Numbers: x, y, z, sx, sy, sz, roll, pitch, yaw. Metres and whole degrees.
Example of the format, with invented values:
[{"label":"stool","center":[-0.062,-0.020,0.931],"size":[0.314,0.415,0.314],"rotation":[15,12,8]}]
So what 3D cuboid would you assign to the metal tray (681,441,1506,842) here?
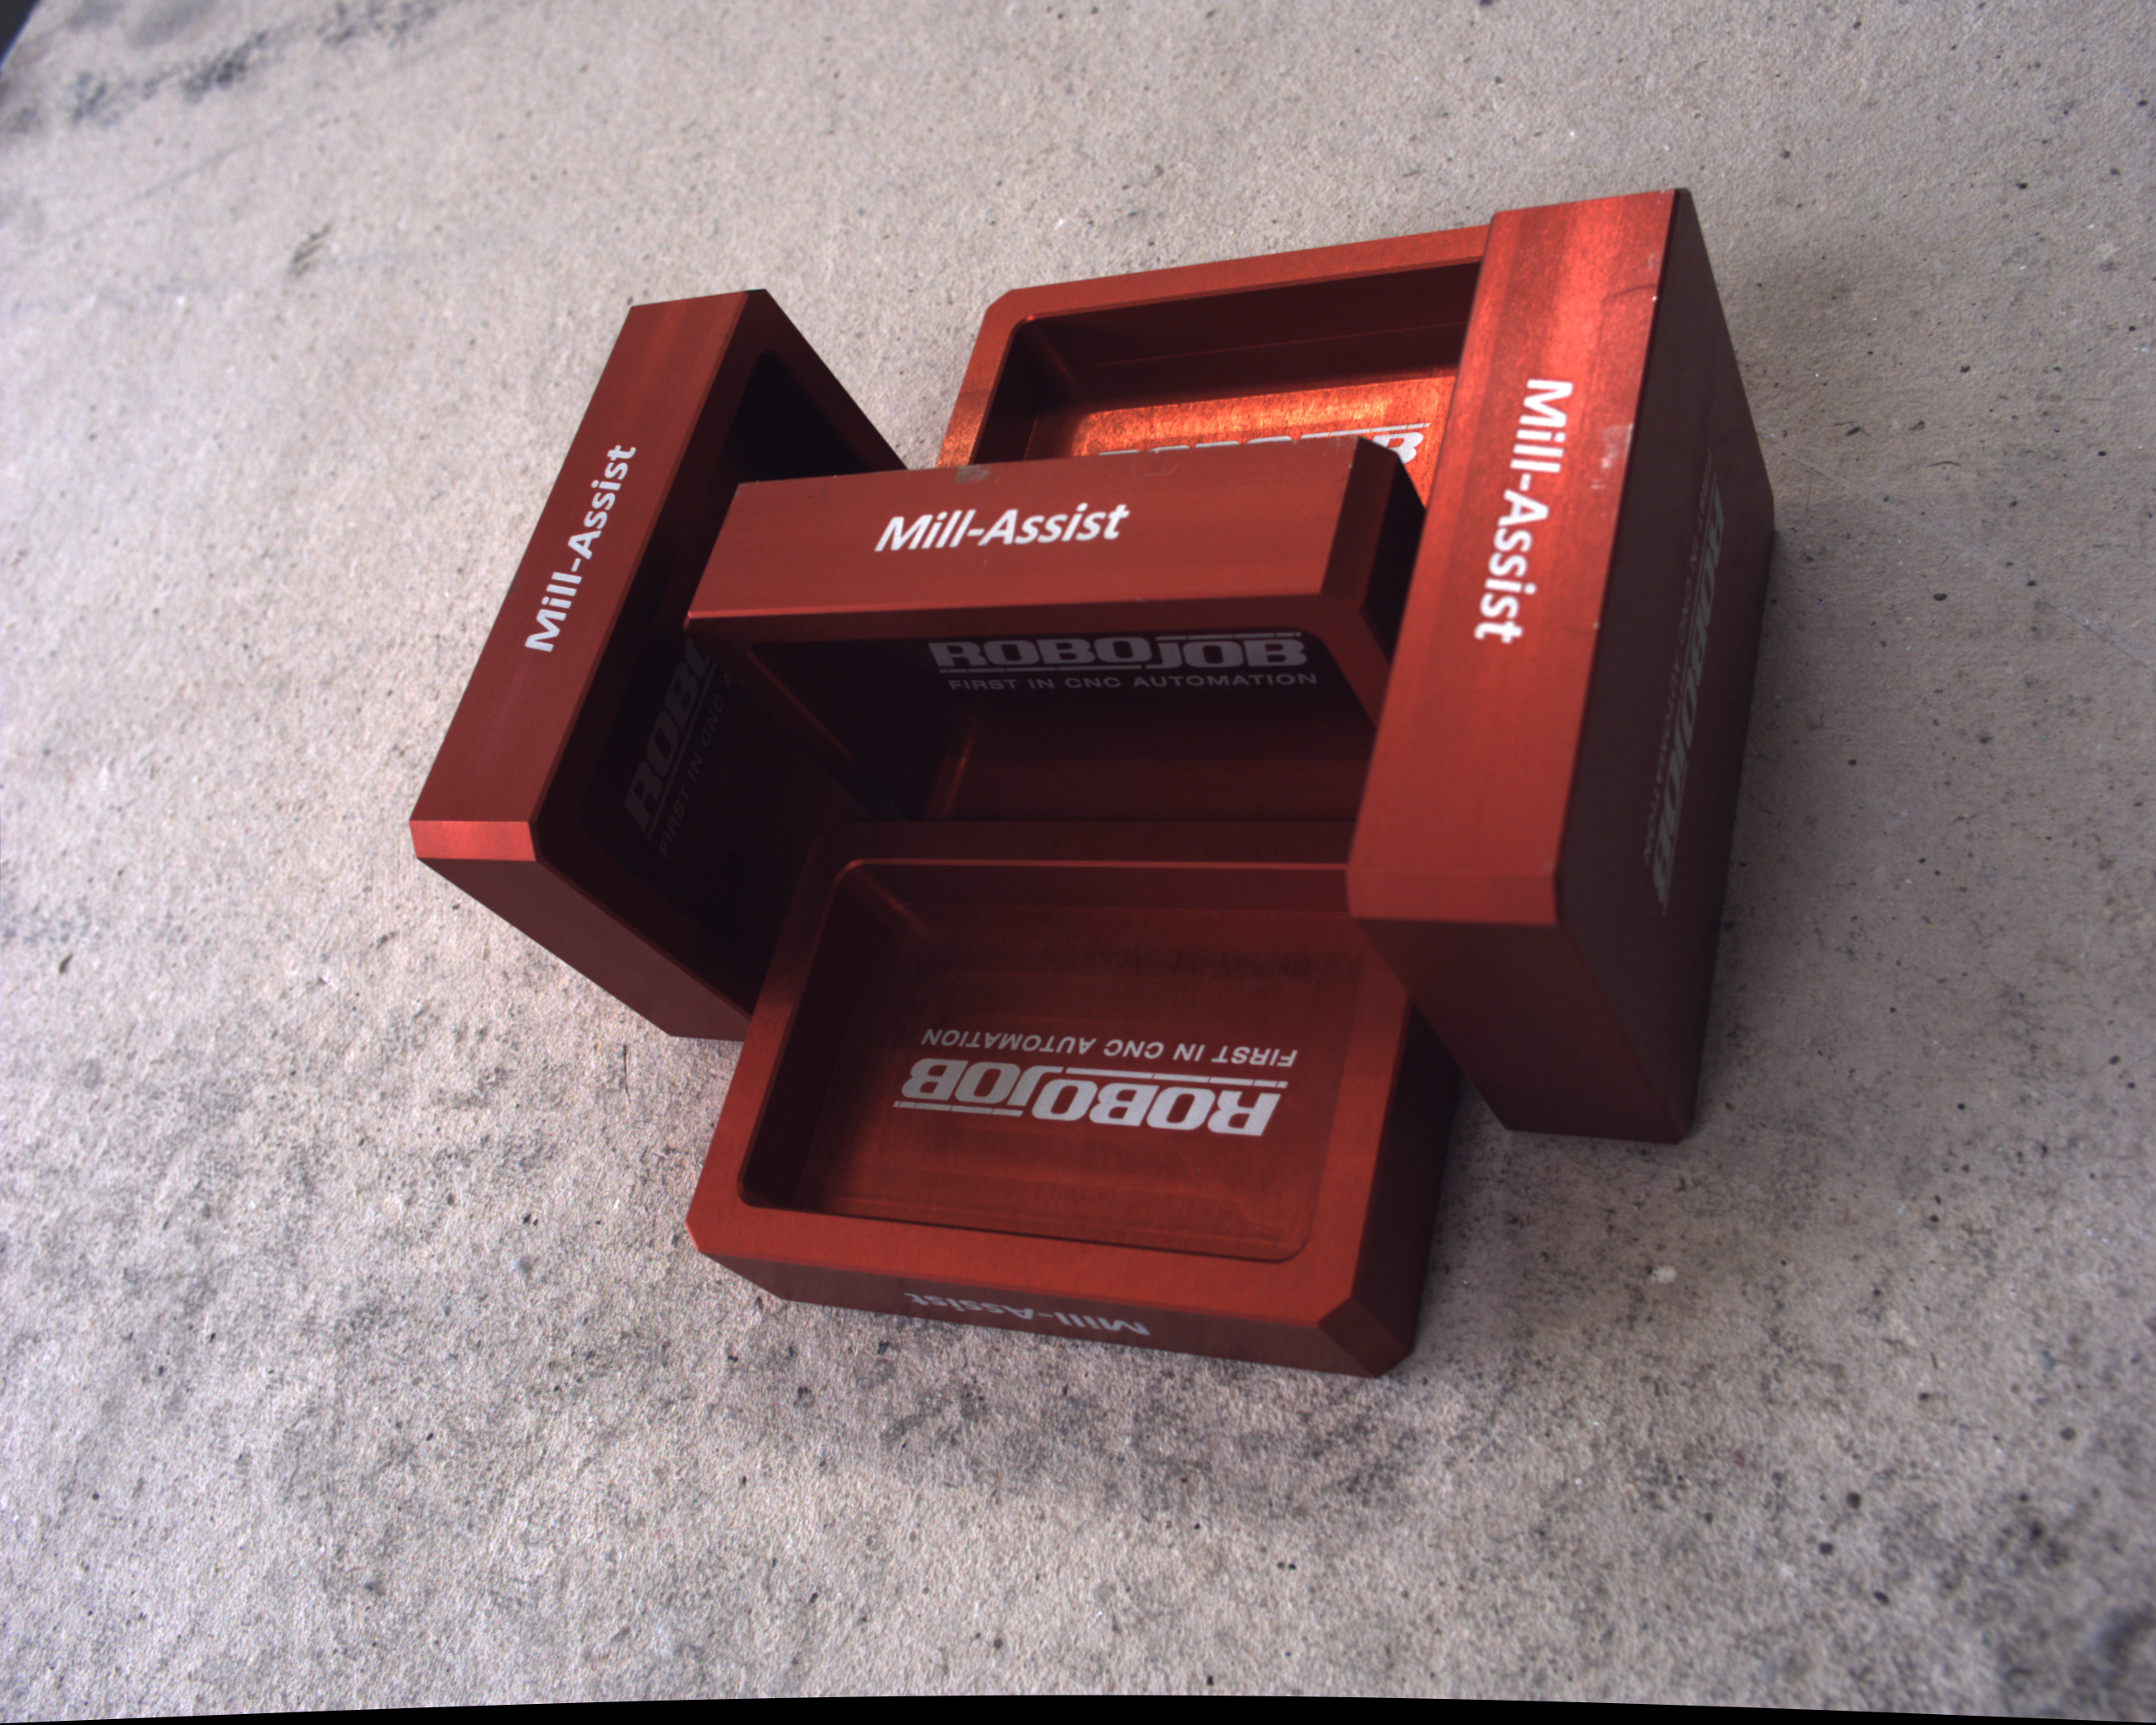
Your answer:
[{"label":"metal tray","center":[0.006,-0.034,0.383],"size":[0.130,0.090,0.030],"rotation":[1,64,29]}]

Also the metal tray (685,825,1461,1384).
[{"label":"metal tray","center":[0.001,0.039,0.379],"size":[0.130,0.030,0.090],"rotation":[1,61,28]}]

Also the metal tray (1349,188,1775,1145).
[{"label":"metal tray","center":[0.084,-0.030,0.338],"size":[0.030,0.090,0.130],"rotation":[1,62,29]}]

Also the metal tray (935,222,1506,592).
[{"label":"metal tray","center":[0.033,-0.082,0.436],"size":[0.130,0.030,0.090],"rotation":[1,65,28]}]

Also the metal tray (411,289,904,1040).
[{"label":"metal tray","center":[-0.074,-0.039,0.426],"size":[0.030,0.090,0.130],"rotation":[1,63,29]}]
